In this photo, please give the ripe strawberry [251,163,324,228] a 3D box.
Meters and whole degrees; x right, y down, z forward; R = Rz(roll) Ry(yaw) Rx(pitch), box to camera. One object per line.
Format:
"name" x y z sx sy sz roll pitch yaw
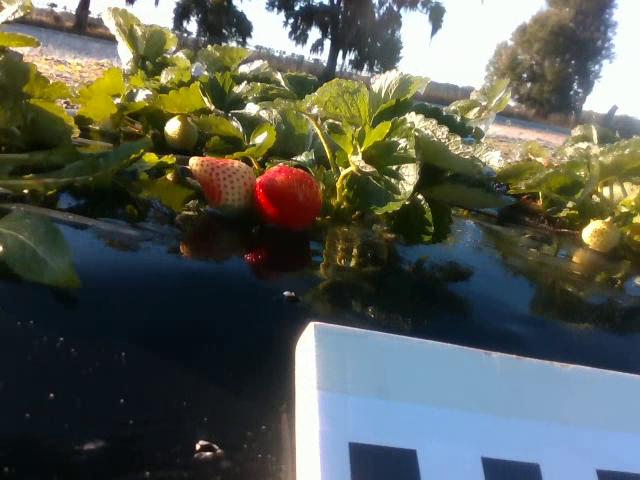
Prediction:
"ripe strawberry" -0.016 -0.028 0.307 0.040 0.038 0.055 -18 -26 -1
